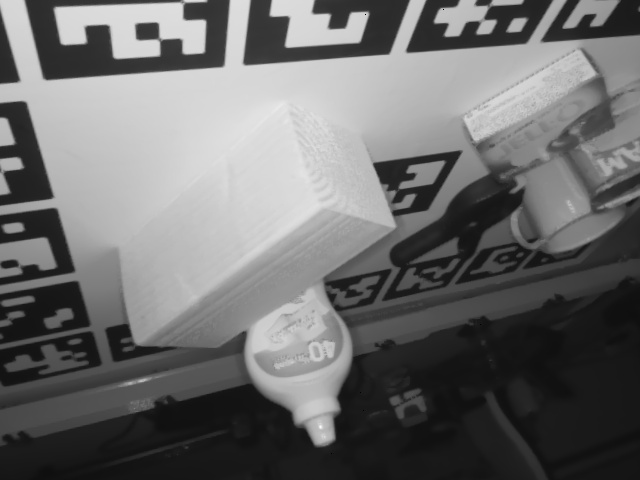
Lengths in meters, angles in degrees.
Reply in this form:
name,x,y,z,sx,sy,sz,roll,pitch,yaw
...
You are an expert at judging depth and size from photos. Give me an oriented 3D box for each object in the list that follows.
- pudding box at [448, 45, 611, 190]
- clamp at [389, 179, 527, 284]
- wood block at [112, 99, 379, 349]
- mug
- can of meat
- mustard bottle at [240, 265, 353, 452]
name,x,y,z,sx,sy,sz,roll,pitch,yaw
pudding box,0.176,-0.099,0.584,0.113,0.039,0.091,-30,146,19
clamp,0.158,-0.007,0.722,0.123,0.036,0.162,4,139,-31
wood block,-0.066,-0.003,0.553,0.203,0.091,0.091,-37,146,29
mug,0.242,-0.040,0.712,0.094,0.081,0.115,5,139,-34
can of meat,0.275,-0.080,0.614,0.101,0.084,0.058,-26,146,10
mustard bottle,-0.024,0.094,0.618,0.097,0.192,0.058,-12,147,-12
